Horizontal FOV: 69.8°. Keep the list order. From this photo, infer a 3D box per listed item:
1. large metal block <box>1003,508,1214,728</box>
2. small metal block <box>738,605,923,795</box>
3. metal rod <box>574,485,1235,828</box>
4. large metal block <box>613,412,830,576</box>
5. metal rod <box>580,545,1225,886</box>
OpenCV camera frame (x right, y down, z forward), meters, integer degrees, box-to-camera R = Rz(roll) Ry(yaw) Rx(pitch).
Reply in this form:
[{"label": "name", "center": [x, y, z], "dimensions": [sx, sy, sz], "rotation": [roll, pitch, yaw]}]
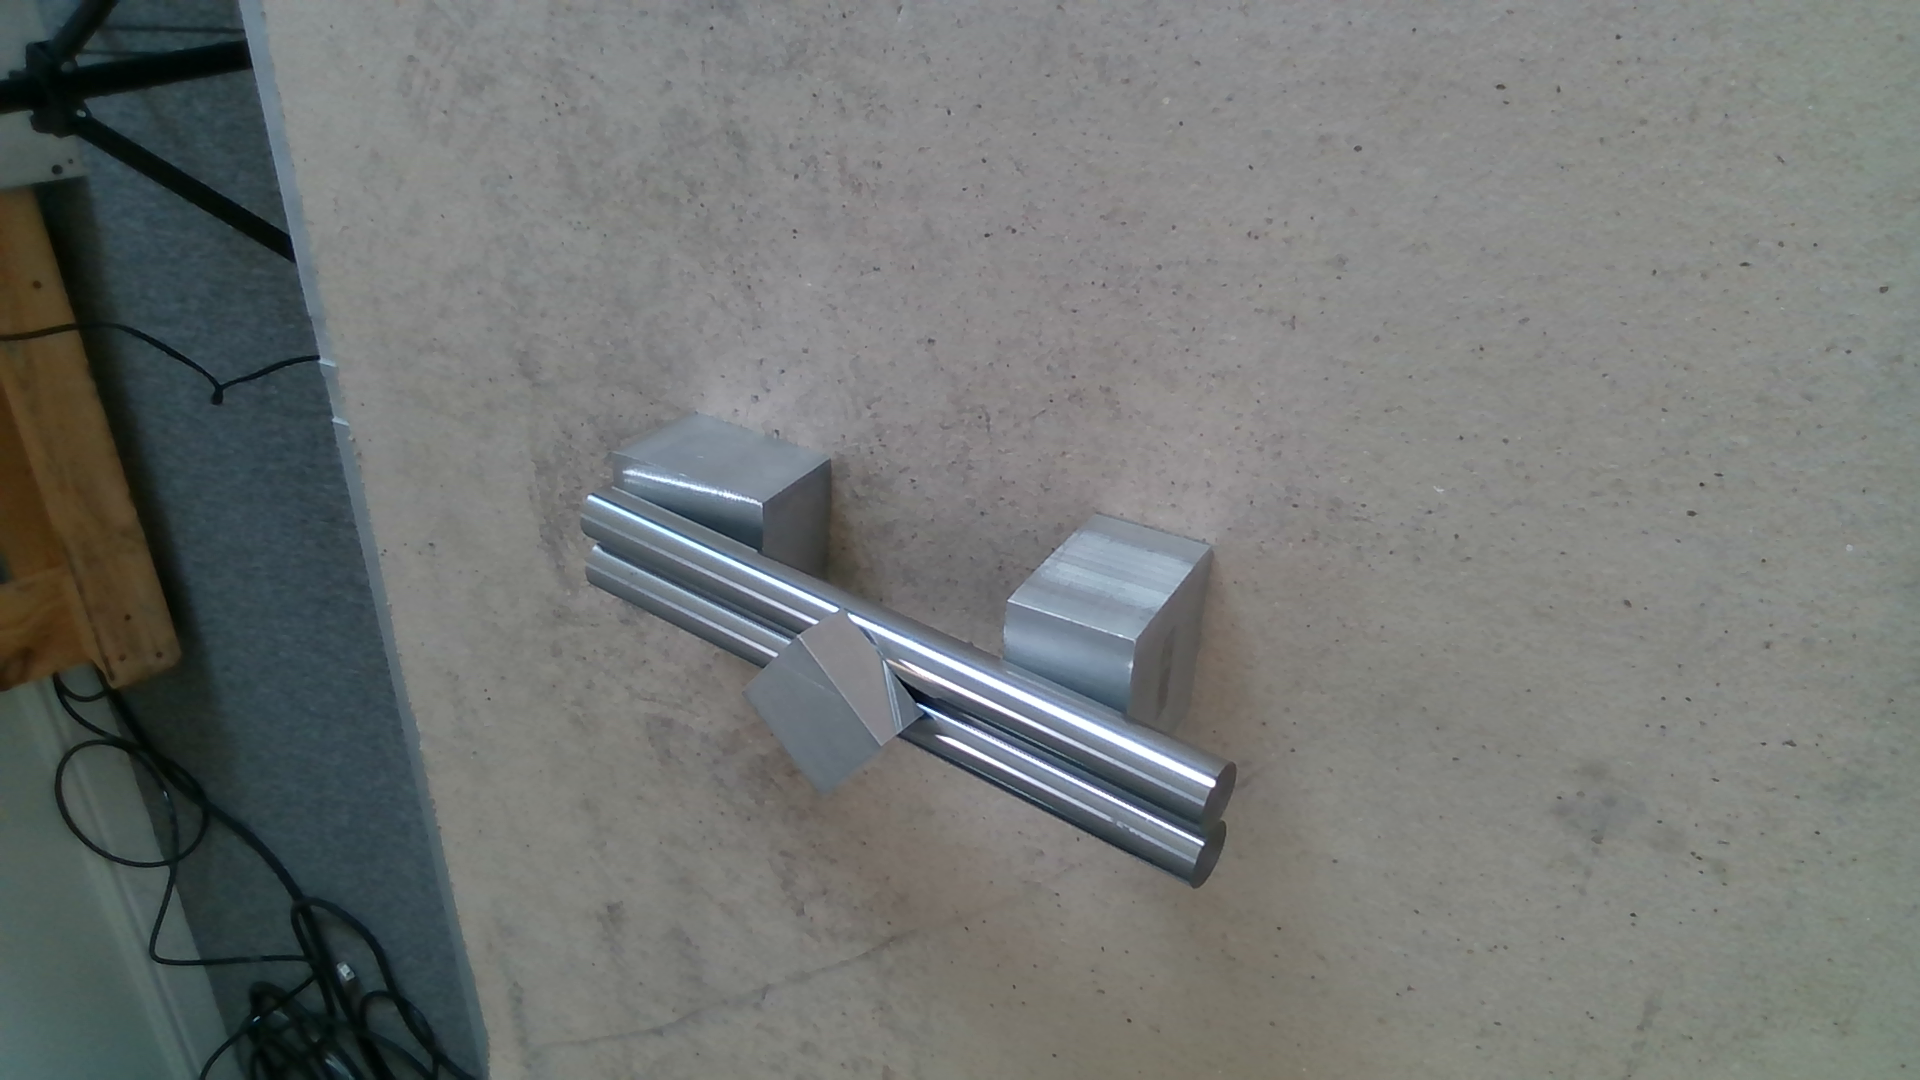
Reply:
[{"label": "large metal block", "center": [0.056, 0.045, 0.536], "dimensions": [0.050, 0.080, 0.080], "rotation": [17, 123, 23]}, {"label": "small metal block", "center": [-0.049, 0.061, 0.518], "dimensions": [0.050, 0.025, 0.050], "rotation": [52, 135, 4]}, {"label": "metal rod", "center": [-0.037, 0.036, 0.528], "dimensions": [0.300, 0.025, 0.025], "rotation": [21, 125, 29]}, {"label": "large metal block", "center": [-0.108, -0.004, 0.627], "dimensions": [0.080, 0.050, 0.080], "rotation": [19, 124, 22]}, {"label": "metal rod", "center": [-0.038, 0.058, 0.541], "dimensions": [0.300, 0.025, 0.025], "rotation": [21, 125, 29]}]
